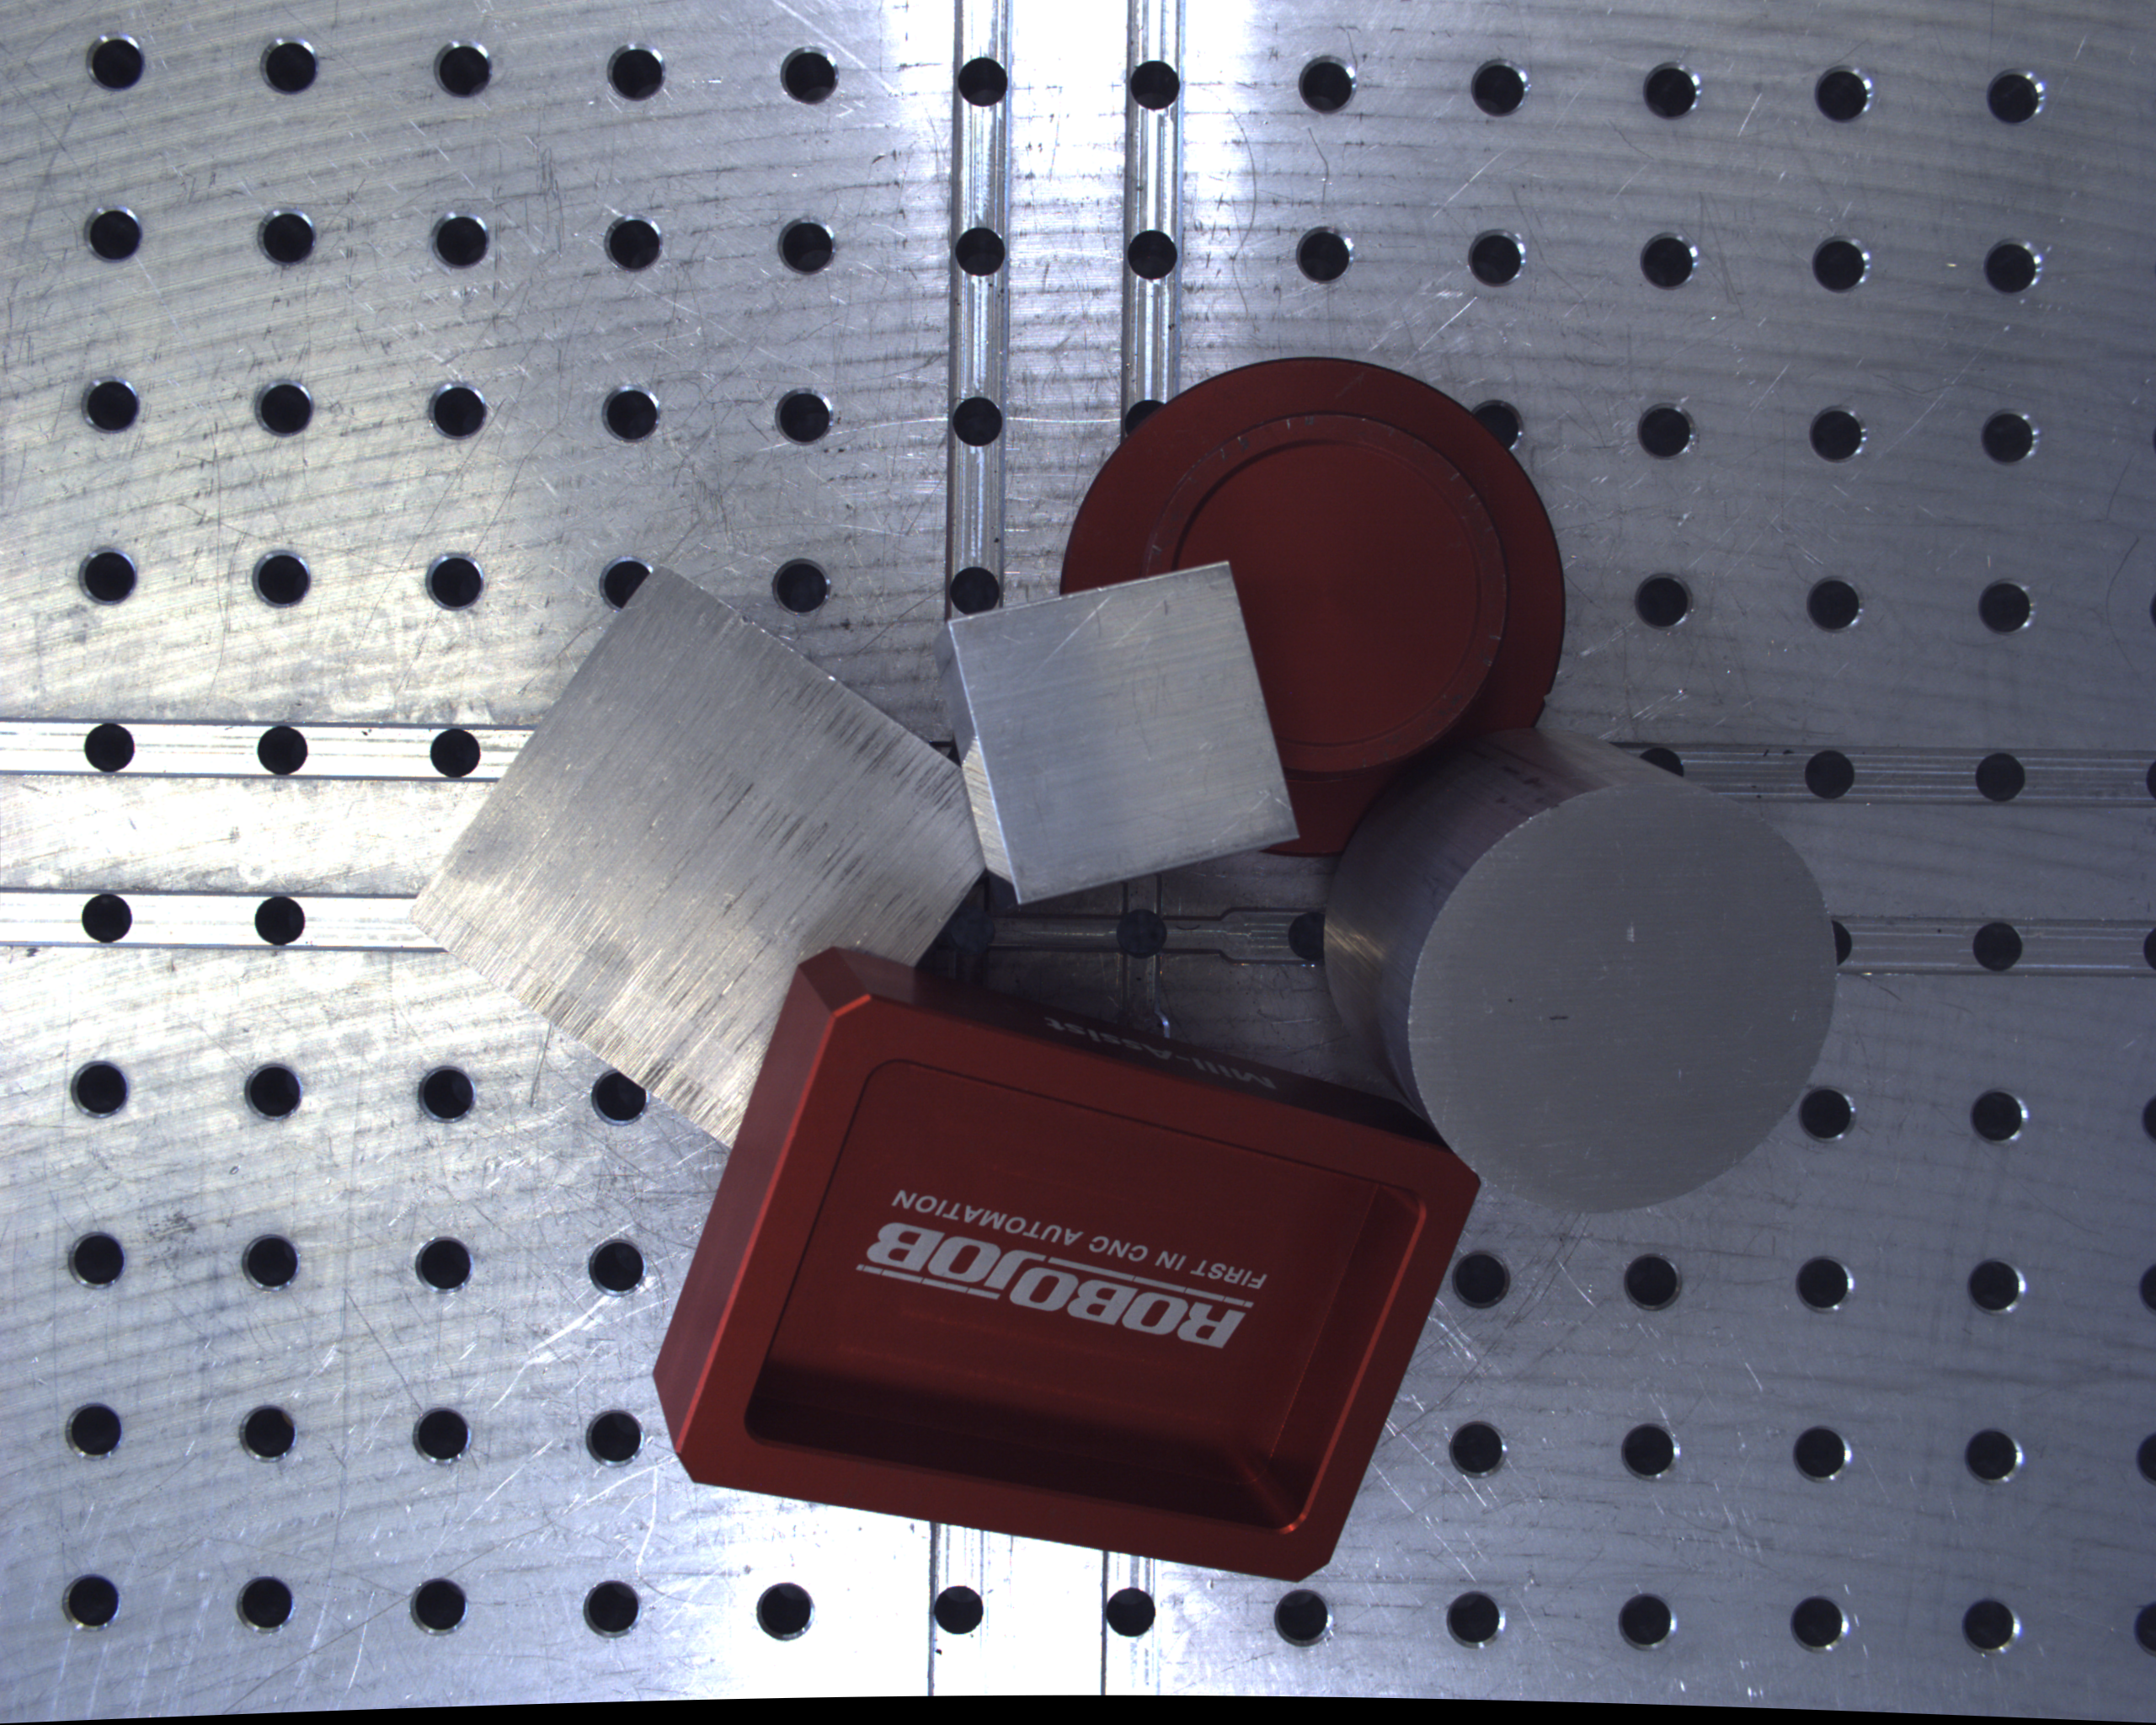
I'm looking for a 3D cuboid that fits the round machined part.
[{"bbox_3d":[0.046,-0.050,0.405,0.099,0.042,0.097,0,90,0],"label":"round machined part"}]

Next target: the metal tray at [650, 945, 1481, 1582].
[{"bbox_3d":[-0.001,0.076,0.382,0.131,0.030,0.089,17,97,-22],"label":"metal tray"}]

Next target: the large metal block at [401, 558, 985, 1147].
[{"bbox_3d":[-0.066,0.001,0.400,0.080,0.050,0.080,36,90,0],"label":"large metal block"}]

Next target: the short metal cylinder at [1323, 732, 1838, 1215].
[{"bbox_3d":[0.092,0.019,0.390,0.081,0.050,0.079,-3,104,-11],"label":"short metal cylinder"}]

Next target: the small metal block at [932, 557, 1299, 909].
[{"bbox_3d":[0.006,-0.022,0.367,0.050,0.025,0.050,-13,87,-11],"label":"small metal block"}]
